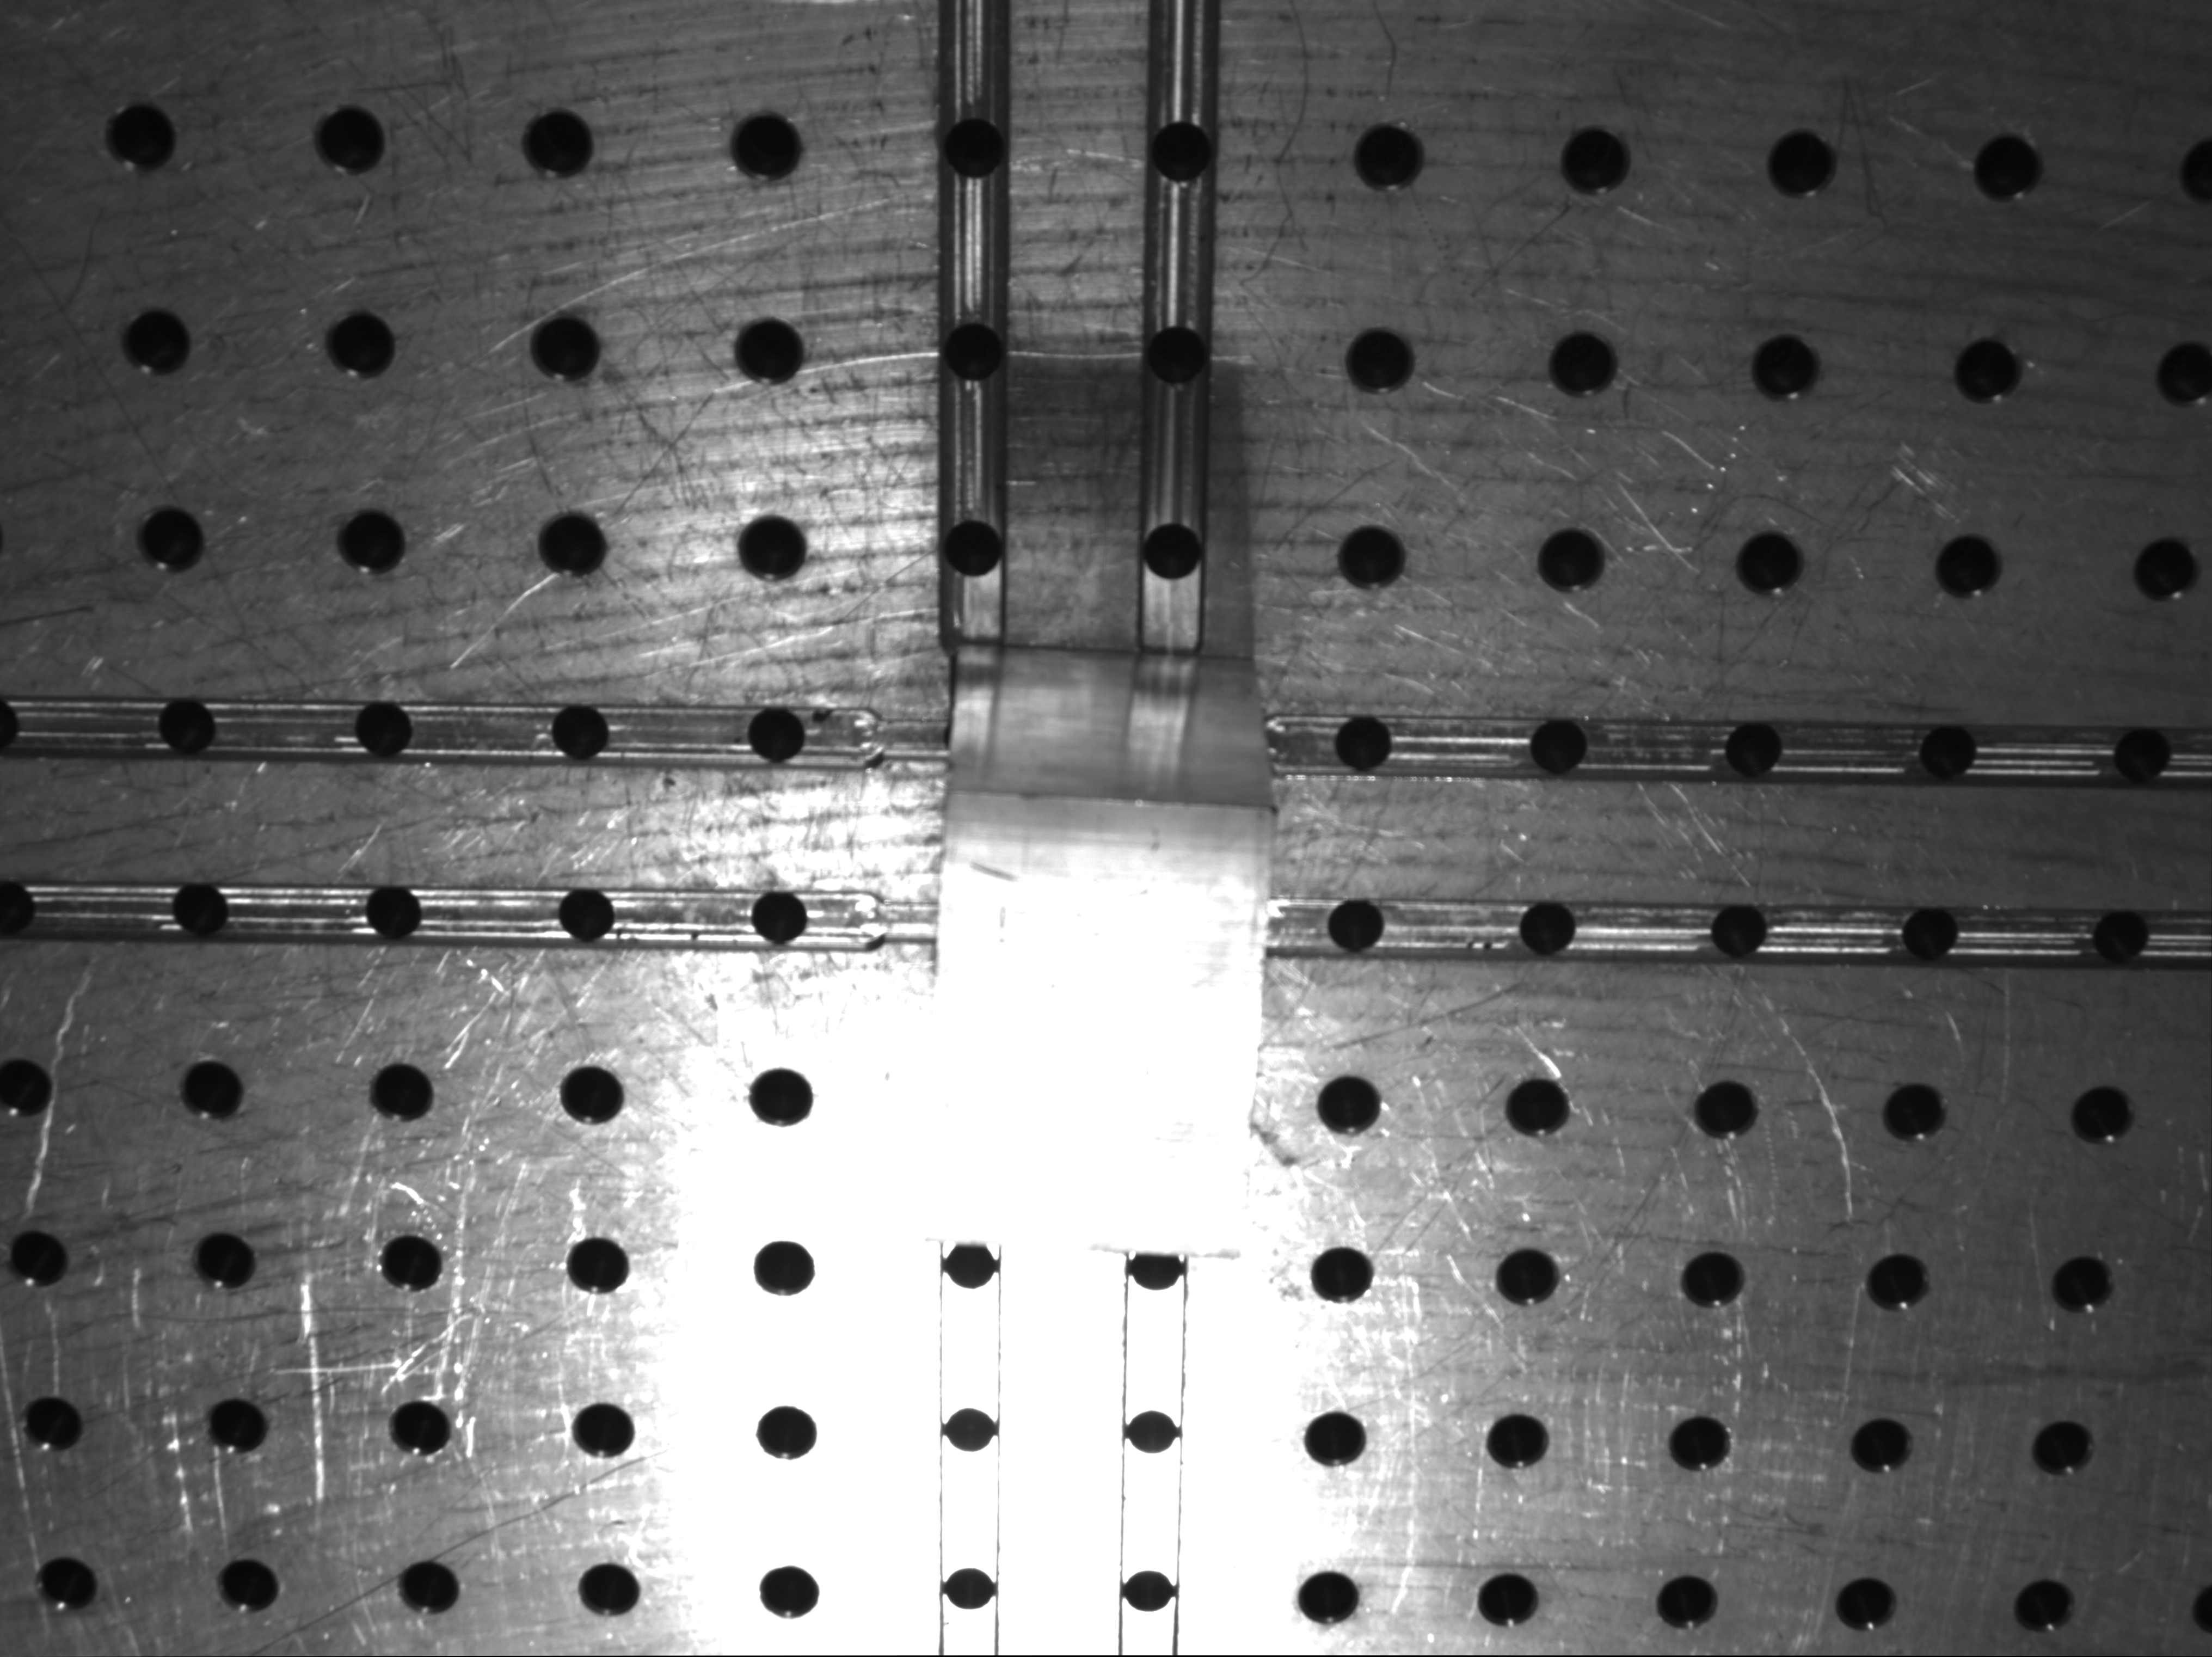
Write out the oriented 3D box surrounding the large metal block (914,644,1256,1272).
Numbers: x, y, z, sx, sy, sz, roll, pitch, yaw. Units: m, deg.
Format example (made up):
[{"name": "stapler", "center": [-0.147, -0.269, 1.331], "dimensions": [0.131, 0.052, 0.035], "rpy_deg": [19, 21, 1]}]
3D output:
[{"name": "large metal block", "center": [-0.004, 0.020, 0.623], "dimensions": [0.050, 0.080, 0.080], "rpy_deg": [3, 110, -2]}]
